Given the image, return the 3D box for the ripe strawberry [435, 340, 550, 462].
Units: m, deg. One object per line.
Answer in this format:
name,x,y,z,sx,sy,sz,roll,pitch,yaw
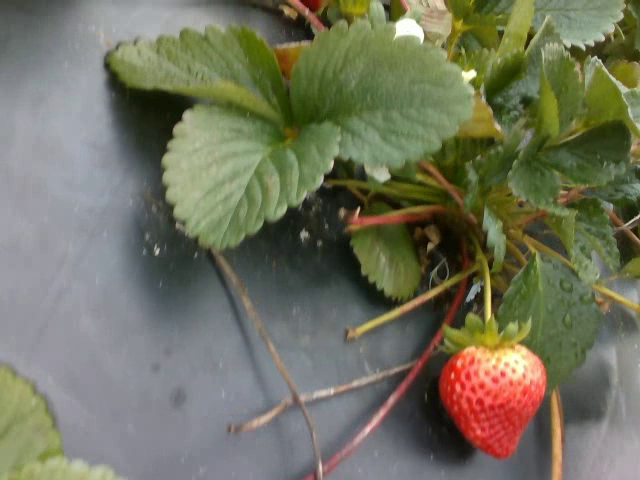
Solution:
ripe strawberry,0.085,0.076,0.284,0.049,0.065,0.061,3,9,35
